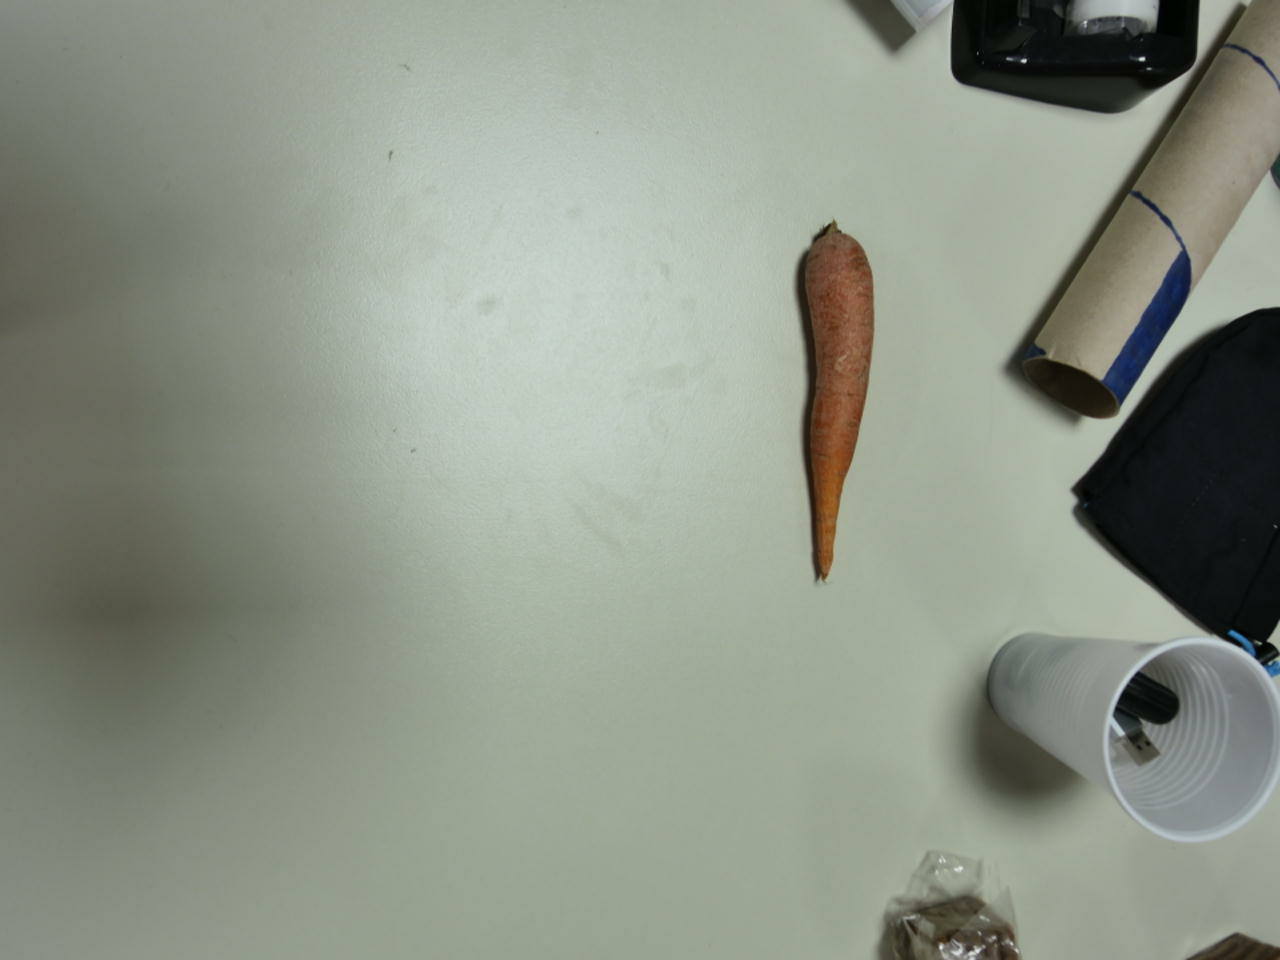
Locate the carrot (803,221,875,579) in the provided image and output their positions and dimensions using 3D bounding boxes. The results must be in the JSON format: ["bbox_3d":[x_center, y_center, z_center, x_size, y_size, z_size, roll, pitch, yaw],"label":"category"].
[{"bbox_3d":[0.092,-0.037,0.461,0.031,0.029,0.163,0,91,-12],"label":"carrot"}]
